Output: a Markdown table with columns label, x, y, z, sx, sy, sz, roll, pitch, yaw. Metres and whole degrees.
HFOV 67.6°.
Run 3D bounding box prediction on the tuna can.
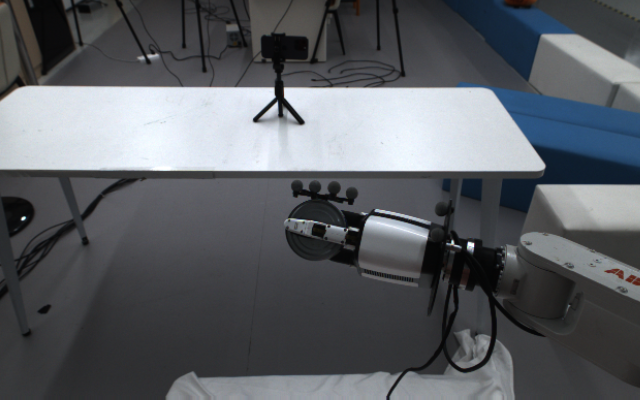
| label | x | y | z | sx | sy | sz | roll | pitch | yaw |
| --- | --- | --- | --- | --- | --- | --- | --- | --- | --- |
| tuna can | -0.003 | 0.041 | 0.677 | 0.085 | 0.085 | 0.034 | 11 | -7 | 13 |
